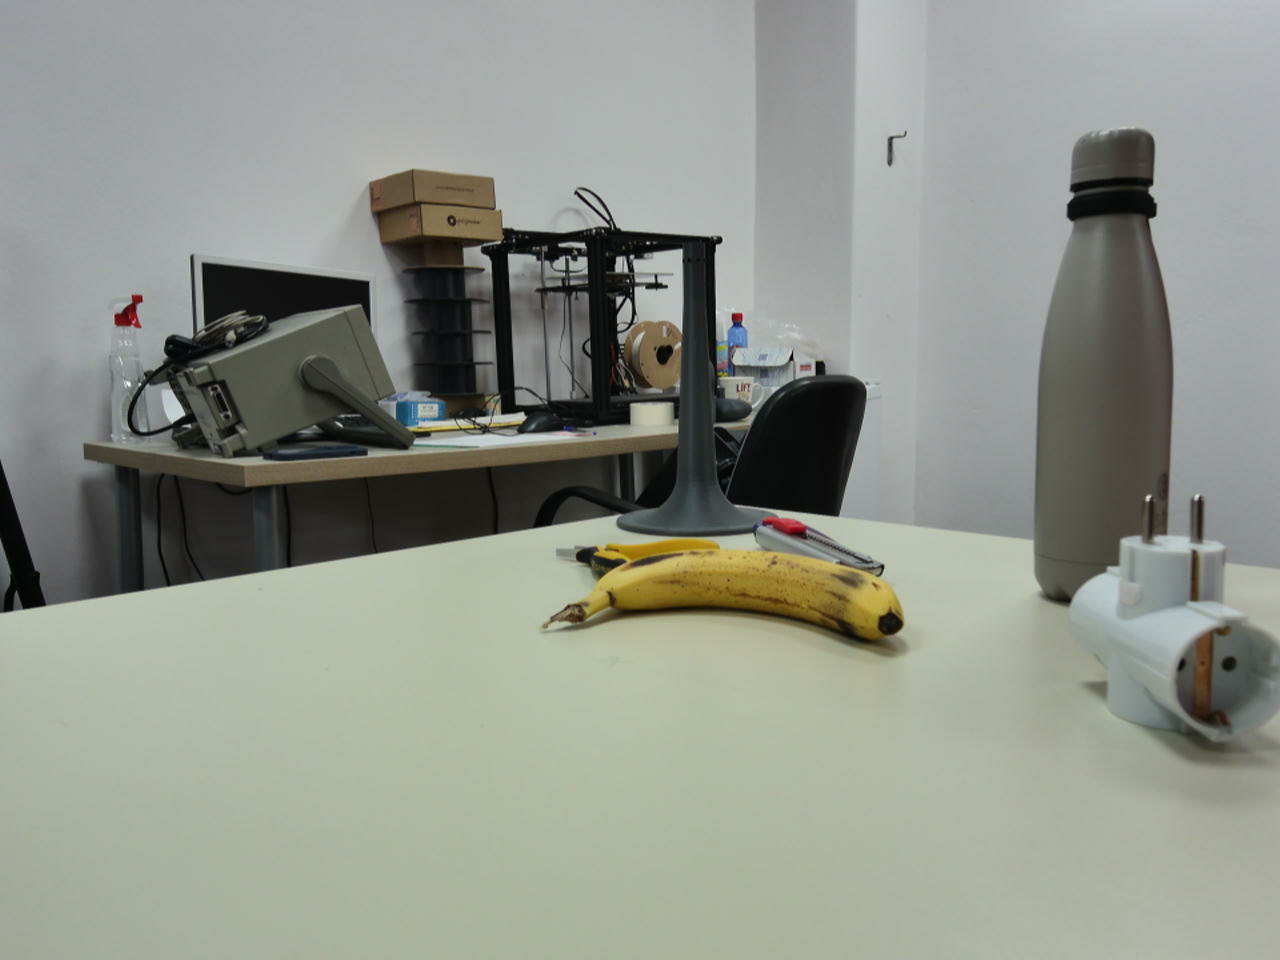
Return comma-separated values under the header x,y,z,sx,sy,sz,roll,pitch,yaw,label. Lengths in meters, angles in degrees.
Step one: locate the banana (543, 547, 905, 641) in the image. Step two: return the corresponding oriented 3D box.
x,y,z,sx,sy,sz,roll,pitch,yaw,label
0.057,0.063,0.568,0.186,0.038,0.097,3,6,20,banana
